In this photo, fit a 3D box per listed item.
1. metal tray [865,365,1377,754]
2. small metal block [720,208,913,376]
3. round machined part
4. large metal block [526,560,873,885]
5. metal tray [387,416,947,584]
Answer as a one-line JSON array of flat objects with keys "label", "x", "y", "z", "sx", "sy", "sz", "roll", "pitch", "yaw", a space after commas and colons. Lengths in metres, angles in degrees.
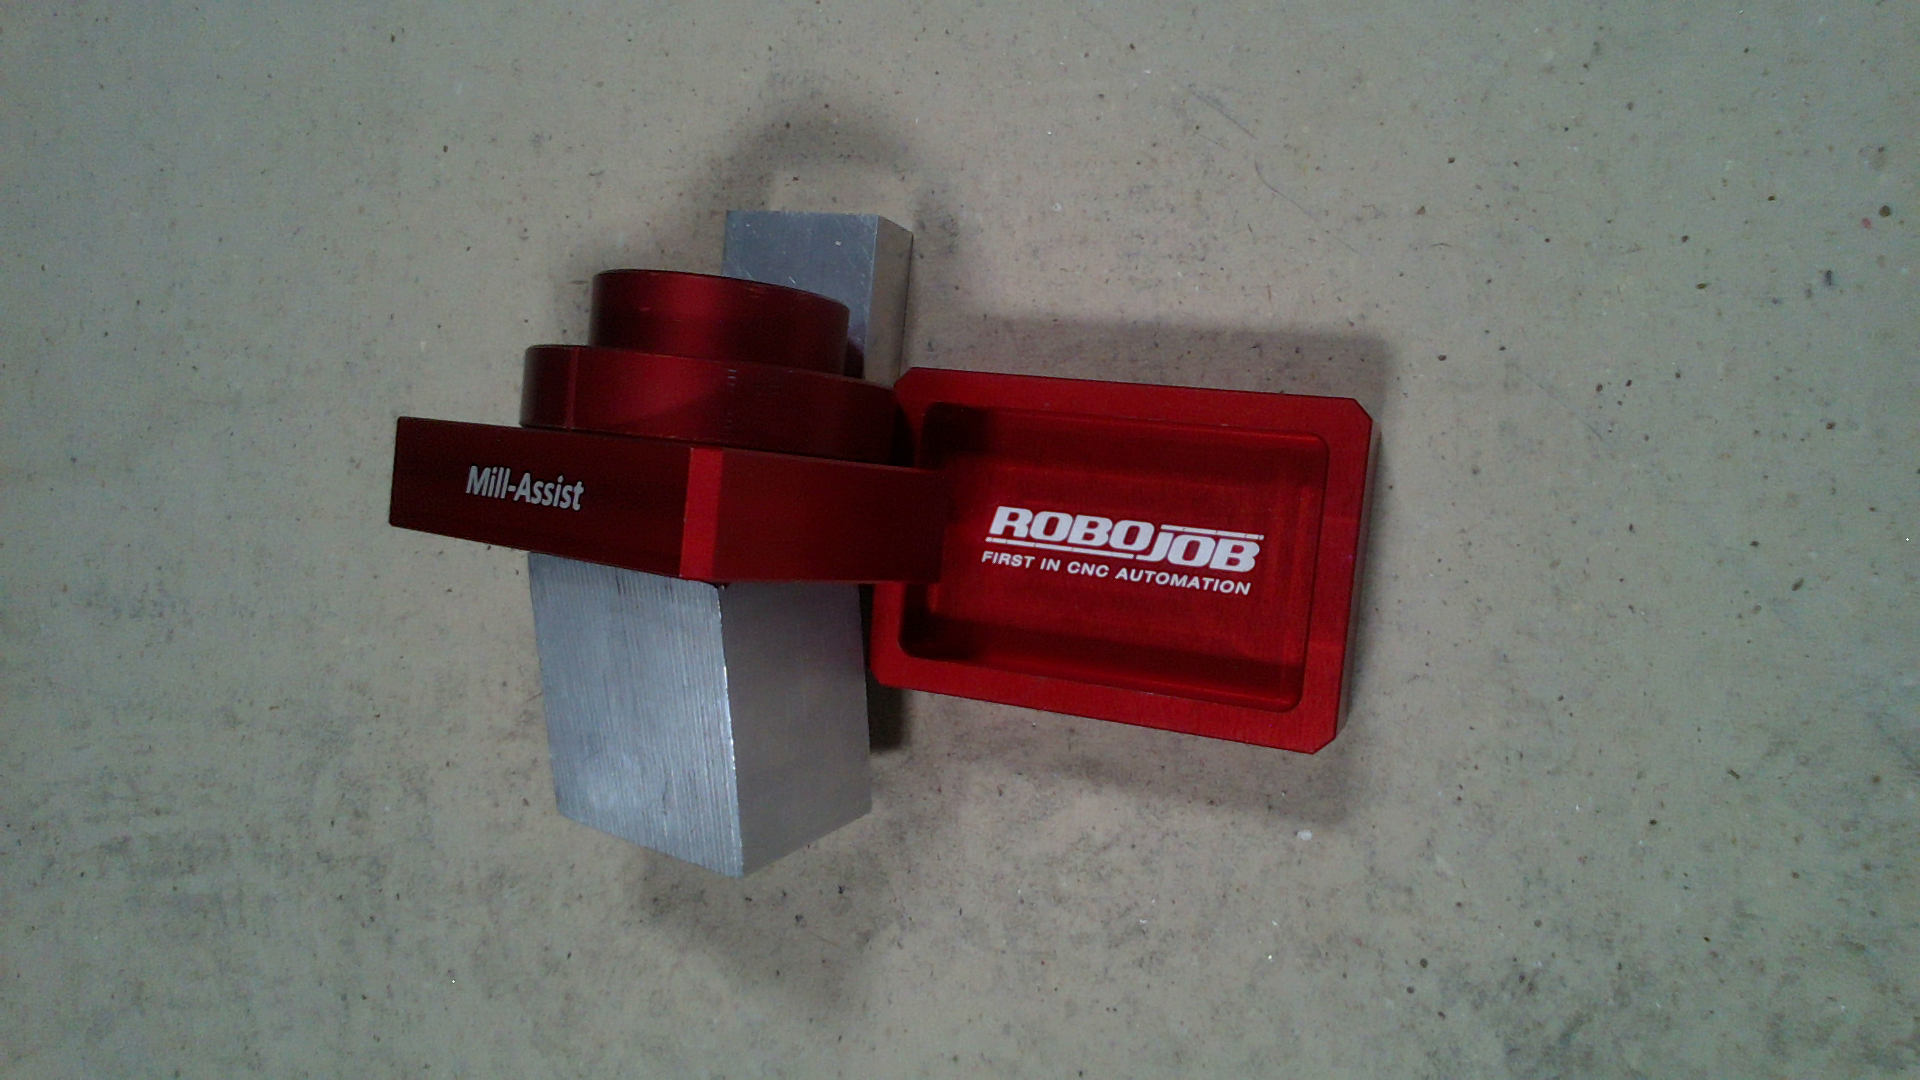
[{"label": "metal tray", "x": 0.043, "y": 0.003, "z": 0.378, "sx": 0.130, "sy": 0.030, "sz": 0.090, "roll": 7, "pitch": 92, "yaw": 20}, {"label": "small metal block", "x": -0.044, "y": -0.071, "z": 0.413, "sx": 0.050, "sy": 0.025, "sz": 0.050, "roll": 7, "pitch": 92, "yaw": 20}, {"label": "round machined part", "x": -0.066, "y": -0.046, "z": 0.369, "sx": 0.098, "sy": 0.098, "sz": 0.042, "roll": 6, "pitch": 92, "yaw": 20}, {"label": "large metal block", "x": -0.074, "y": 0.041, "z": 0.389, "sx": 0.080, "sy": 0.050, "sz": 0.080, "roll": 7, "pitch": 106, "yaw": 38}, {"label": "metal tray", "x": -0.080, "y": -0.011, "z": 0.372, "sx": 0.129, "sy": 0.090, "sz": 0.030, "roll": 8, "pitch": 94, "yaw": 38}]
